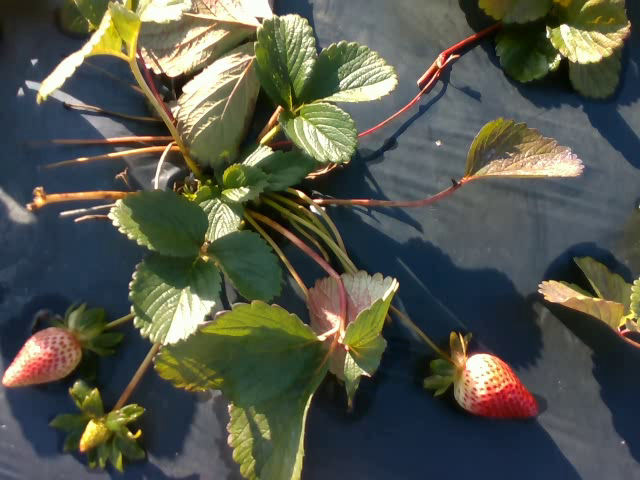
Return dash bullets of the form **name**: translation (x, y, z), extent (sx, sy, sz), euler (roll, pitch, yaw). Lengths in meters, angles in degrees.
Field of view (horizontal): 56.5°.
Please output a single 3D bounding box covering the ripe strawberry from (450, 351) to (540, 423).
- **ripe strawberry**: translation (0.106, 0.090, 0.342), extent (0.063, 0.045, 0.044), euler (24, 34, 5)
